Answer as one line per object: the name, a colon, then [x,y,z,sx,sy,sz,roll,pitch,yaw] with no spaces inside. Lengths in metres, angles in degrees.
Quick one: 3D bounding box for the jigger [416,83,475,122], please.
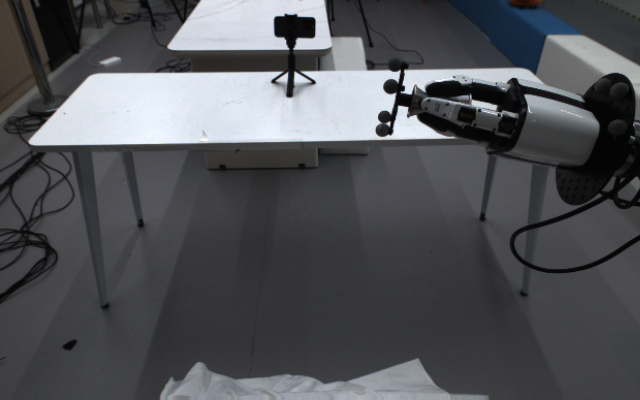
jigger: [0.150,-0.116,0.590,0.071,0.043,0.043,11,35,4]
